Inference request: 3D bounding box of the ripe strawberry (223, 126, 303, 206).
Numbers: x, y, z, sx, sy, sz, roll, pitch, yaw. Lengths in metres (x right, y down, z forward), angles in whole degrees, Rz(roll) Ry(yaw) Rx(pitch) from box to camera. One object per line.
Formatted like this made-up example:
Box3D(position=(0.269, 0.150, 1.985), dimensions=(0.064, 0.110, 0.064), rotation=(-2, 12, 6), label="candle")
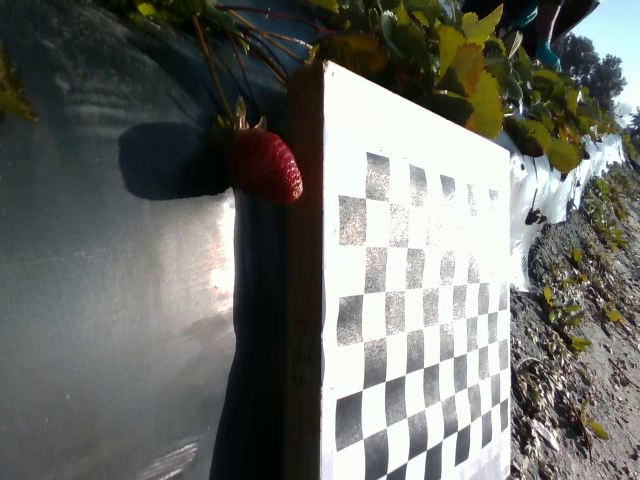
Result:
Box3D(position=(-0.019, -0.023, 0.211), dimensions=(0.037, 0.033, 0.034), rotation=(42, 22, 27), label="ripe strawberry")
